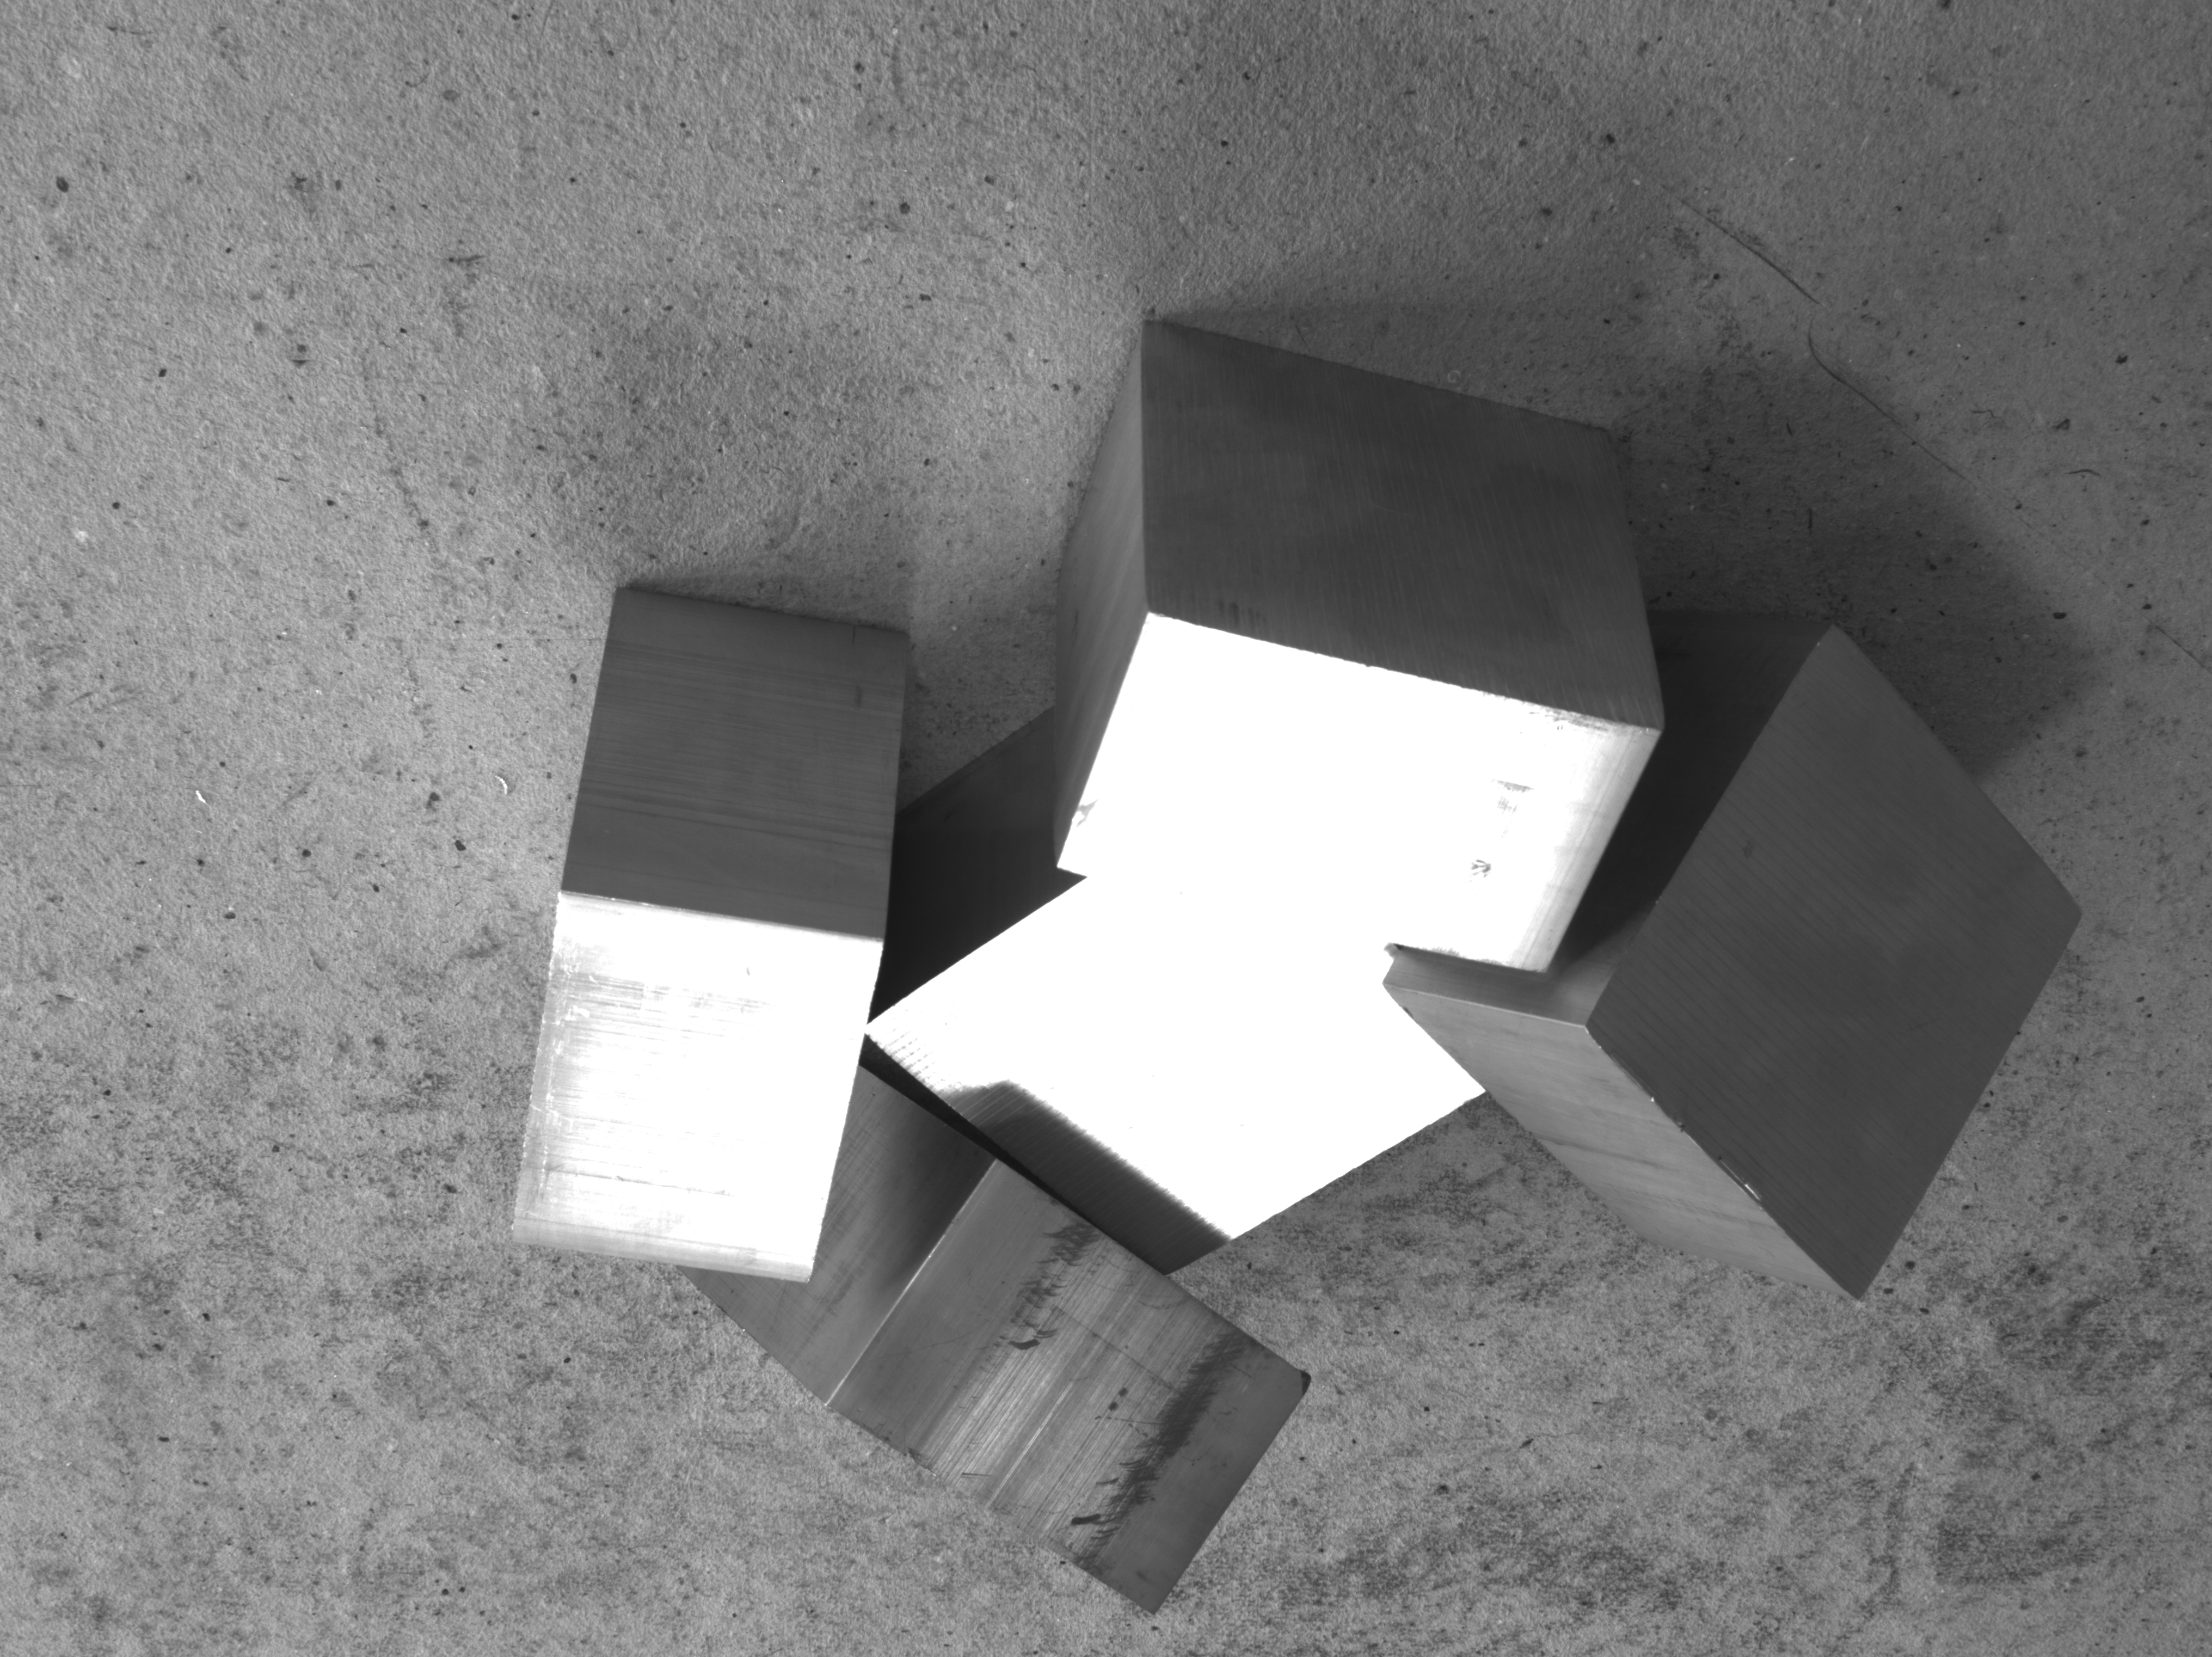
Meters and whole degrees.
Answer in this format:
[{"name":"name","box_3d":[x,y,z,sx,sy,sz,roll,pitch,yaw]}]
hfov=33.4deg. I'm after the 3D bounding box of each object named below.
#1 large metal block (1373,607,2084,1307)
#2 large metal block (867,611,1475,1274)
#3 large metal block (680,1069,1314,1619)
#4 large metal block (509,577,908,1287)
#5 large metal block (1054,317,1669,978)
[{"name":"large metal block","box_3d":[0.104,0.020,0.612,0.080,0.080,0.050,43,162,-30]},{"name":"large metal block","box_3d":[0.015,0.021,0.638,0.080,0.050,0.080,-33,124,25]},{"name":"large metal block","box_3d":[-0.022,0.090,0.671,0.080,0.080,0.050,38,84,-27]},{"name":"large metal block","box_3d":[-0.066,0.017,0.619,0.050,0.080,0.080,9,130,-8]},{"name":"large metal block","box_3d":[0.037,-0.029,0.579,0.080,0.080,0.050,12,129,-10]}]
